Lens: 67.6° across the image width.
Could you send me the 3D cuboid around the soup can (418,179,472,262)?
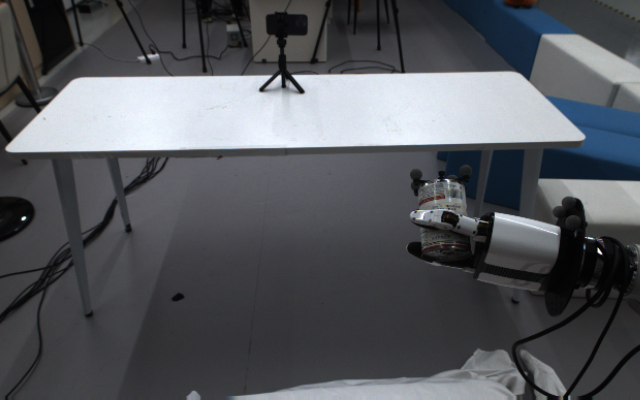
[{"bbox_3d":[0.175,0.029,0.681,0.067,0.067,0.101,2,68,0],"label":"soup can"}]
